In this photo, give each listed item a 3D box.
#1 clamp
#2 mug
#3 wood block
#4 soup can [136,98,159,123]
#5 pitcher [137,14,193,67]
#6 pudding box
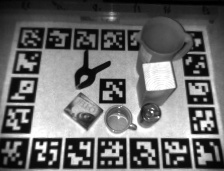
[{"bbox_3d":[-0.090,-0.077,0.846,0.122,0.036,0.165,31,73,2],"label":"clamp"},{"bbox_3d":[0.026,0.110,0.750,0.116,0.082,0.093,35,71,12],"label":"mug"},{"bbox_3d":[0.138,-0.013,0.729,0.090,0.206,0.090,-1,69,-4],"label":"wood block"},{"bbox_3d":[0.120,0.089,0.747,0.068,0.102,0.068,0,72,0],"label":"soup can"},{"bbox_3d":[0.165,-0.132,0.756,0.188,0.244,0.133,-1,68,3],"label":"pitcher"},{"bbox_3d":[-0.114,0.072,0.786,0.113,0.039,0.090,37,77,12],"label":"pudding box"}]
